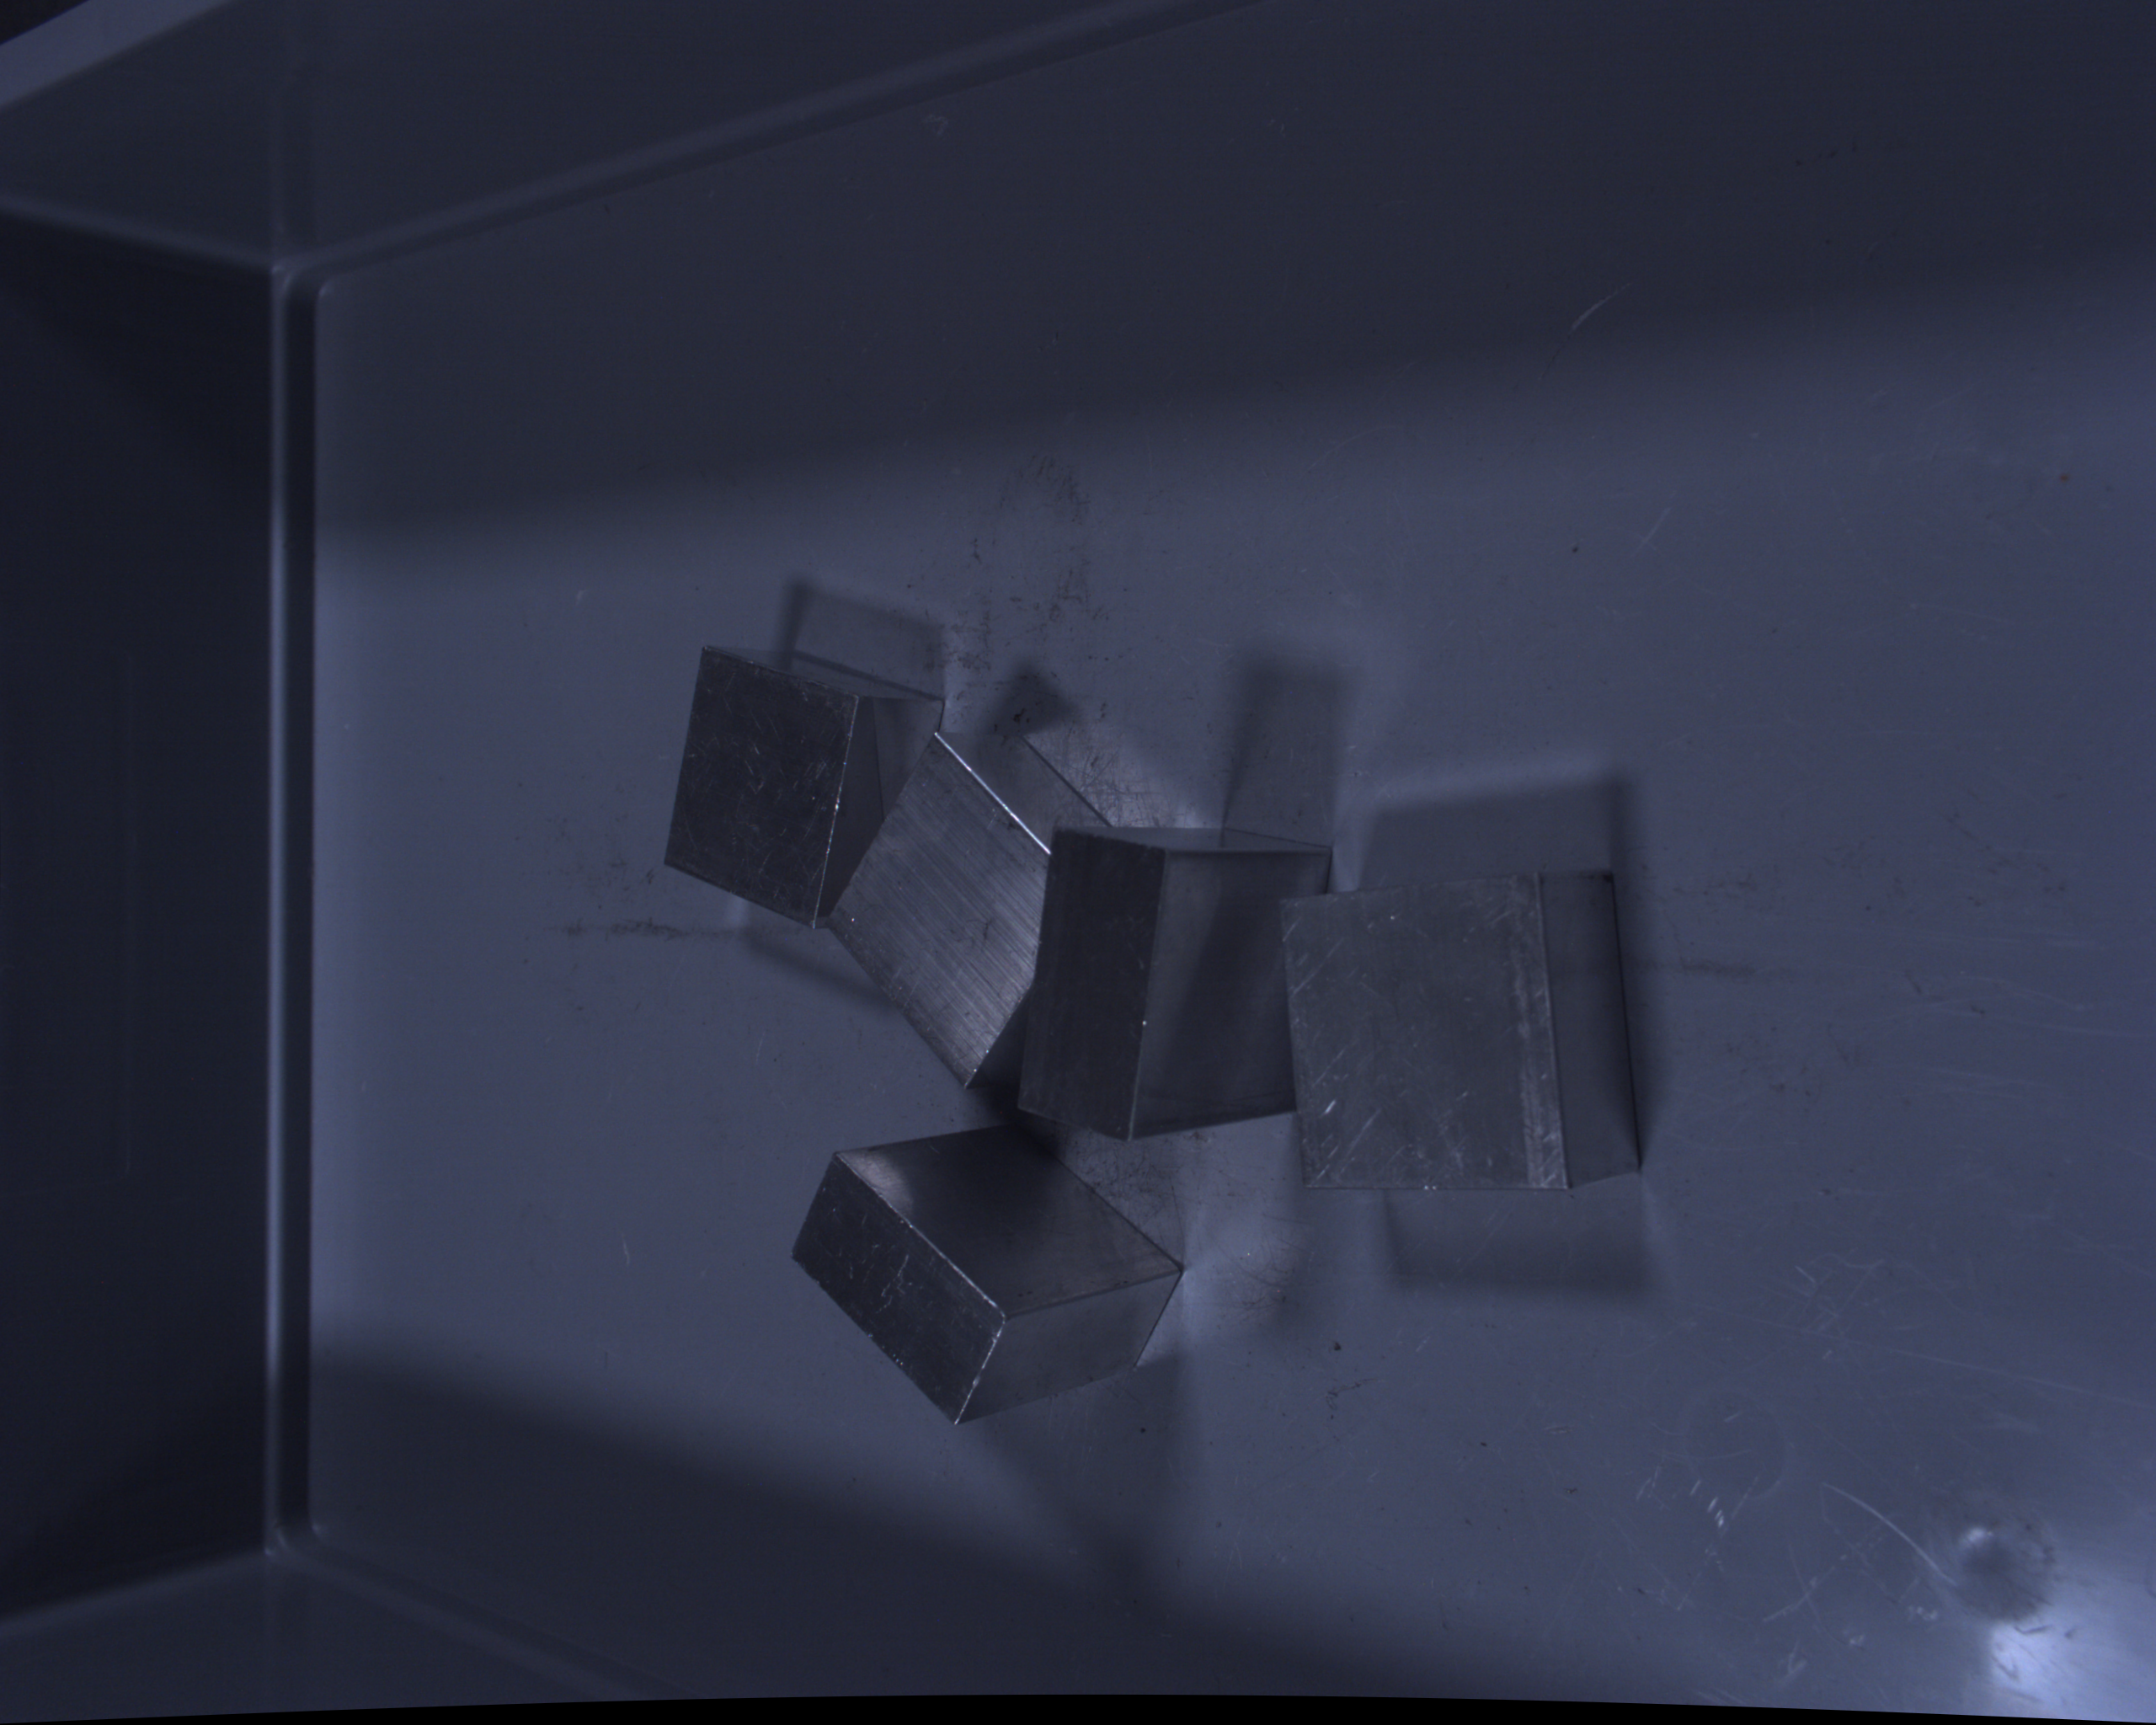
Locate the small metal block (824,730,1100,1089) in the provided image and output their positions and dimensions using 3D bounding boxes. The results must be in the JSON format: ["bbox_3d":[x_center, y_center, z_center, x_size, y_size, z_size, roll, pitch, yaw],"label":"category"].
[{"bbox_3d":[-0.017,0.009,0.415,0.050,0.025,0.050,46,117,30],"label":"small metal block"}]

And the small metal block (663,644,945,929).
[{"bbox_3d":[-0.060,-0.017,0.451,0.050,0.025,0.050,20,102,38],"label":"small metal block"}]

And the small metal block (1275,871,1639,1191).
[{"bbox_3d":[0.063,0.029,0.350,0.050,0.025,0.050,-7,86,39],"label":"small metal block"}]

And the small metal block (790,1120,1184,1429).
[{"bbox_3d":[-0.017,0.077,0.400,0.050,0.050,0.025,37,114,33],"label":"small metal block"}]

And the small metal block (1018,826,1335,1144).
[{"bbox_3d":[0.018,0.020,0.372,0.025,0.050,0.050,12,98,38],"label":"small metal block"}]
